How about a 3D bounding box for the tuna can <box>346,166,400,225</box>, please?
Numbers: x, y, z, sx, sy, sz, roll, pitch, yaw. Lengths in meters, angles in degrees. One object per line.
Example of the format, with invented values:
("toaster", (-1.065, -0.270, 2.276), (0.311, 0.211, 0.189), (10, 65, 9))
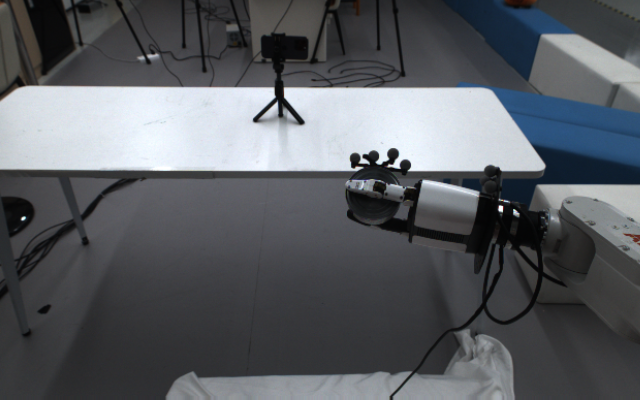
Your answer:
("tuna can", (0.082, -0.011, 0.742), (0.085, 0.034, 0.085), (-3, 67, 7))
